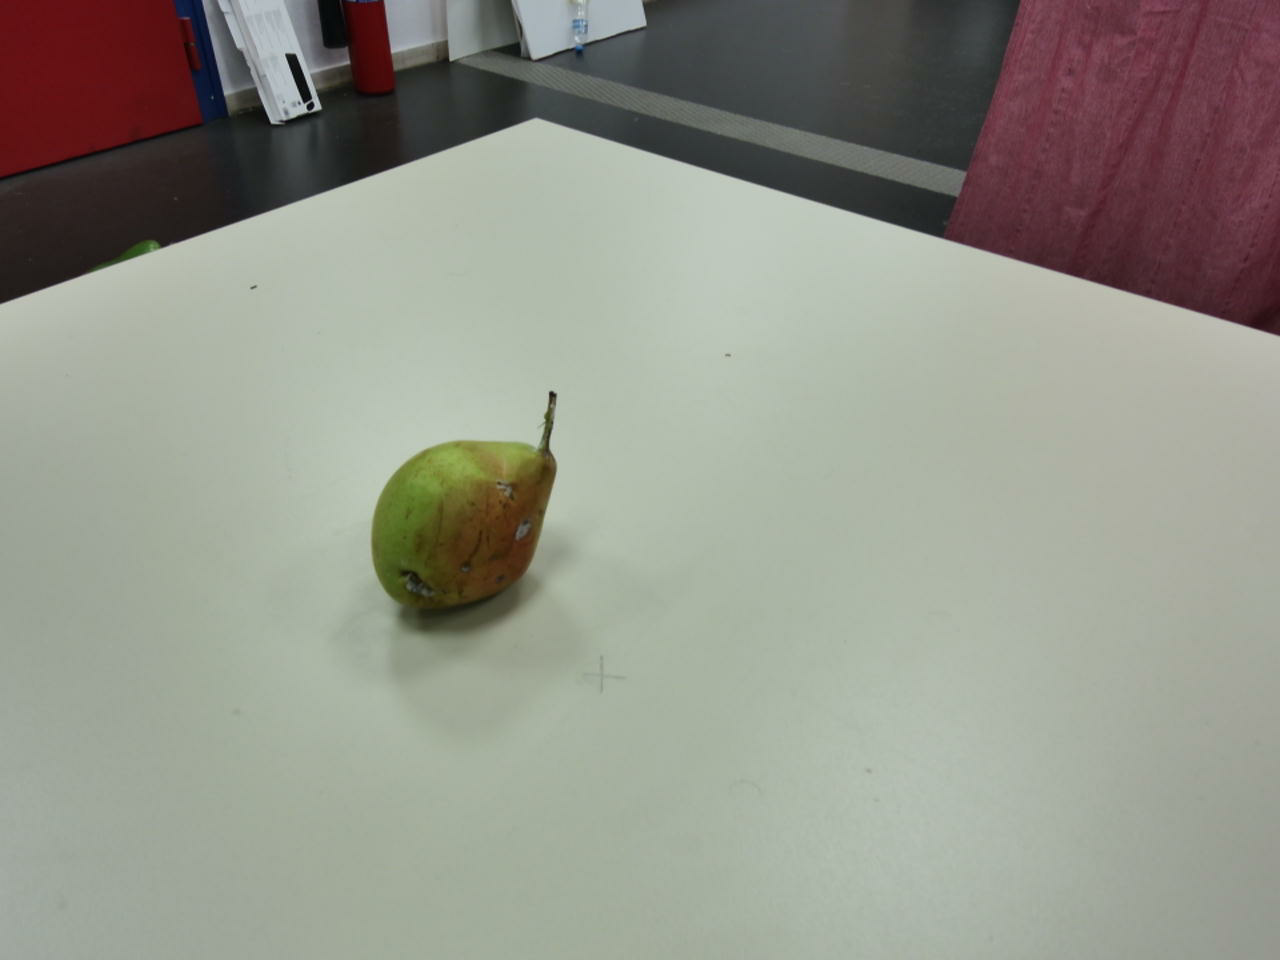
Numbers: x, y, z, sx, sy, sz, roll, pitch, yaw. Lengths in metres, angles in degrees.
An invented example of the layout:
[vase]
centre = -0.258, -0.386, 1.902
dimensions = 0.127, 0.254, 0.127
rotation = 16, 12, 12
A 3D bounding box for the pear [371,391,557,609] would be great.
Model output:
[pear]
centre = -0.067, 0.013, 0.384
dimensions = 0.070, 0.069, 0.068
rotation = -1, 36, -1
